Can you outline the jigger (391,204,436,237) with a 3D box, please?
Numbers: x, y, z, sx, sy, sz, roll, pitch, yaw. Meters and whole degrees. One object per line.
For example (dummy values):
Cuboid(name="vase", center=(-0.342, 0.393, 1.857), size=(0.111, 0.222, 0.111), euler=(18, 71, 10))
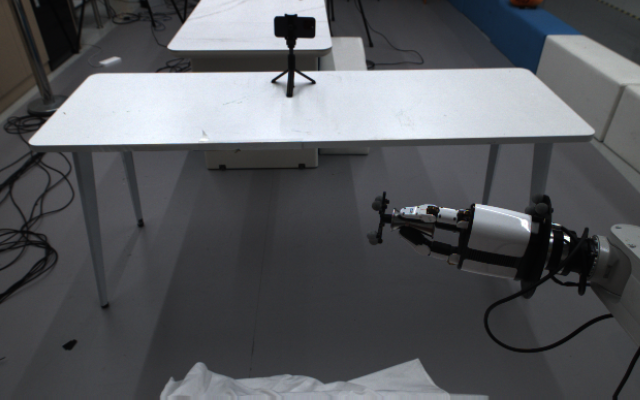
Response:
Cuboid(name="jigger", center=(0.158, 0.032, 0.782), size=(0.071, 0.043, 0.043), euler=(8, 35, 12))
